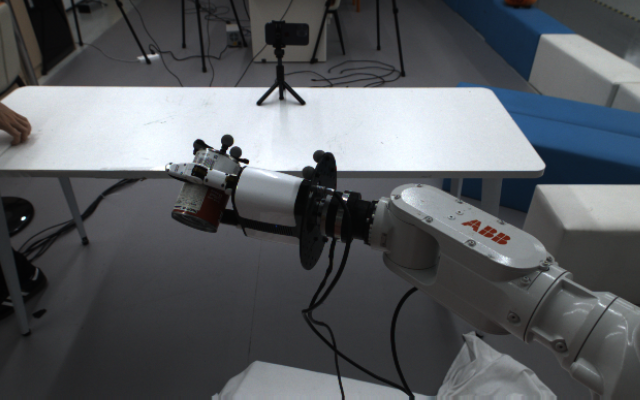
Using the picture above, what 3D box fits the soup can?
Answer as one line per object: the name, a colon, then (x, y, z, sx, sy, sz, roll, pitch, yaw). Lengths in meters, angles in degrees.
soup can: (-0.160, -0.013, 0.680, 0.067, 0.067, 0.101, 12, 71, 14)
